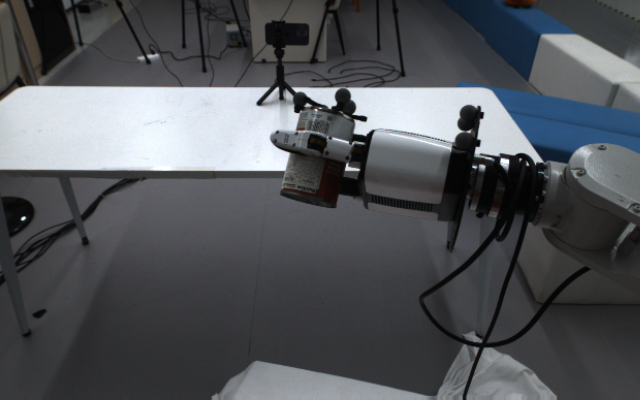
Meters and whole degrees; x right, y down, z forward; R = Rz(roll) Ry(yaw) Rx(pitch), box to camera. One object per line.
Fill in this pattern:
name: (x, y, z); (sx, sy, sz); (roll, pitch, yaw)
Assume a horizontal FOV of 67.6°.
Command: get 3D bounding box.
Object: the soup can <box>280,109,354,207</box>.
soup can: (-0.001, -0.048, 0.557); (0.067, 0.101, 0.067); (13, -6, 1)
